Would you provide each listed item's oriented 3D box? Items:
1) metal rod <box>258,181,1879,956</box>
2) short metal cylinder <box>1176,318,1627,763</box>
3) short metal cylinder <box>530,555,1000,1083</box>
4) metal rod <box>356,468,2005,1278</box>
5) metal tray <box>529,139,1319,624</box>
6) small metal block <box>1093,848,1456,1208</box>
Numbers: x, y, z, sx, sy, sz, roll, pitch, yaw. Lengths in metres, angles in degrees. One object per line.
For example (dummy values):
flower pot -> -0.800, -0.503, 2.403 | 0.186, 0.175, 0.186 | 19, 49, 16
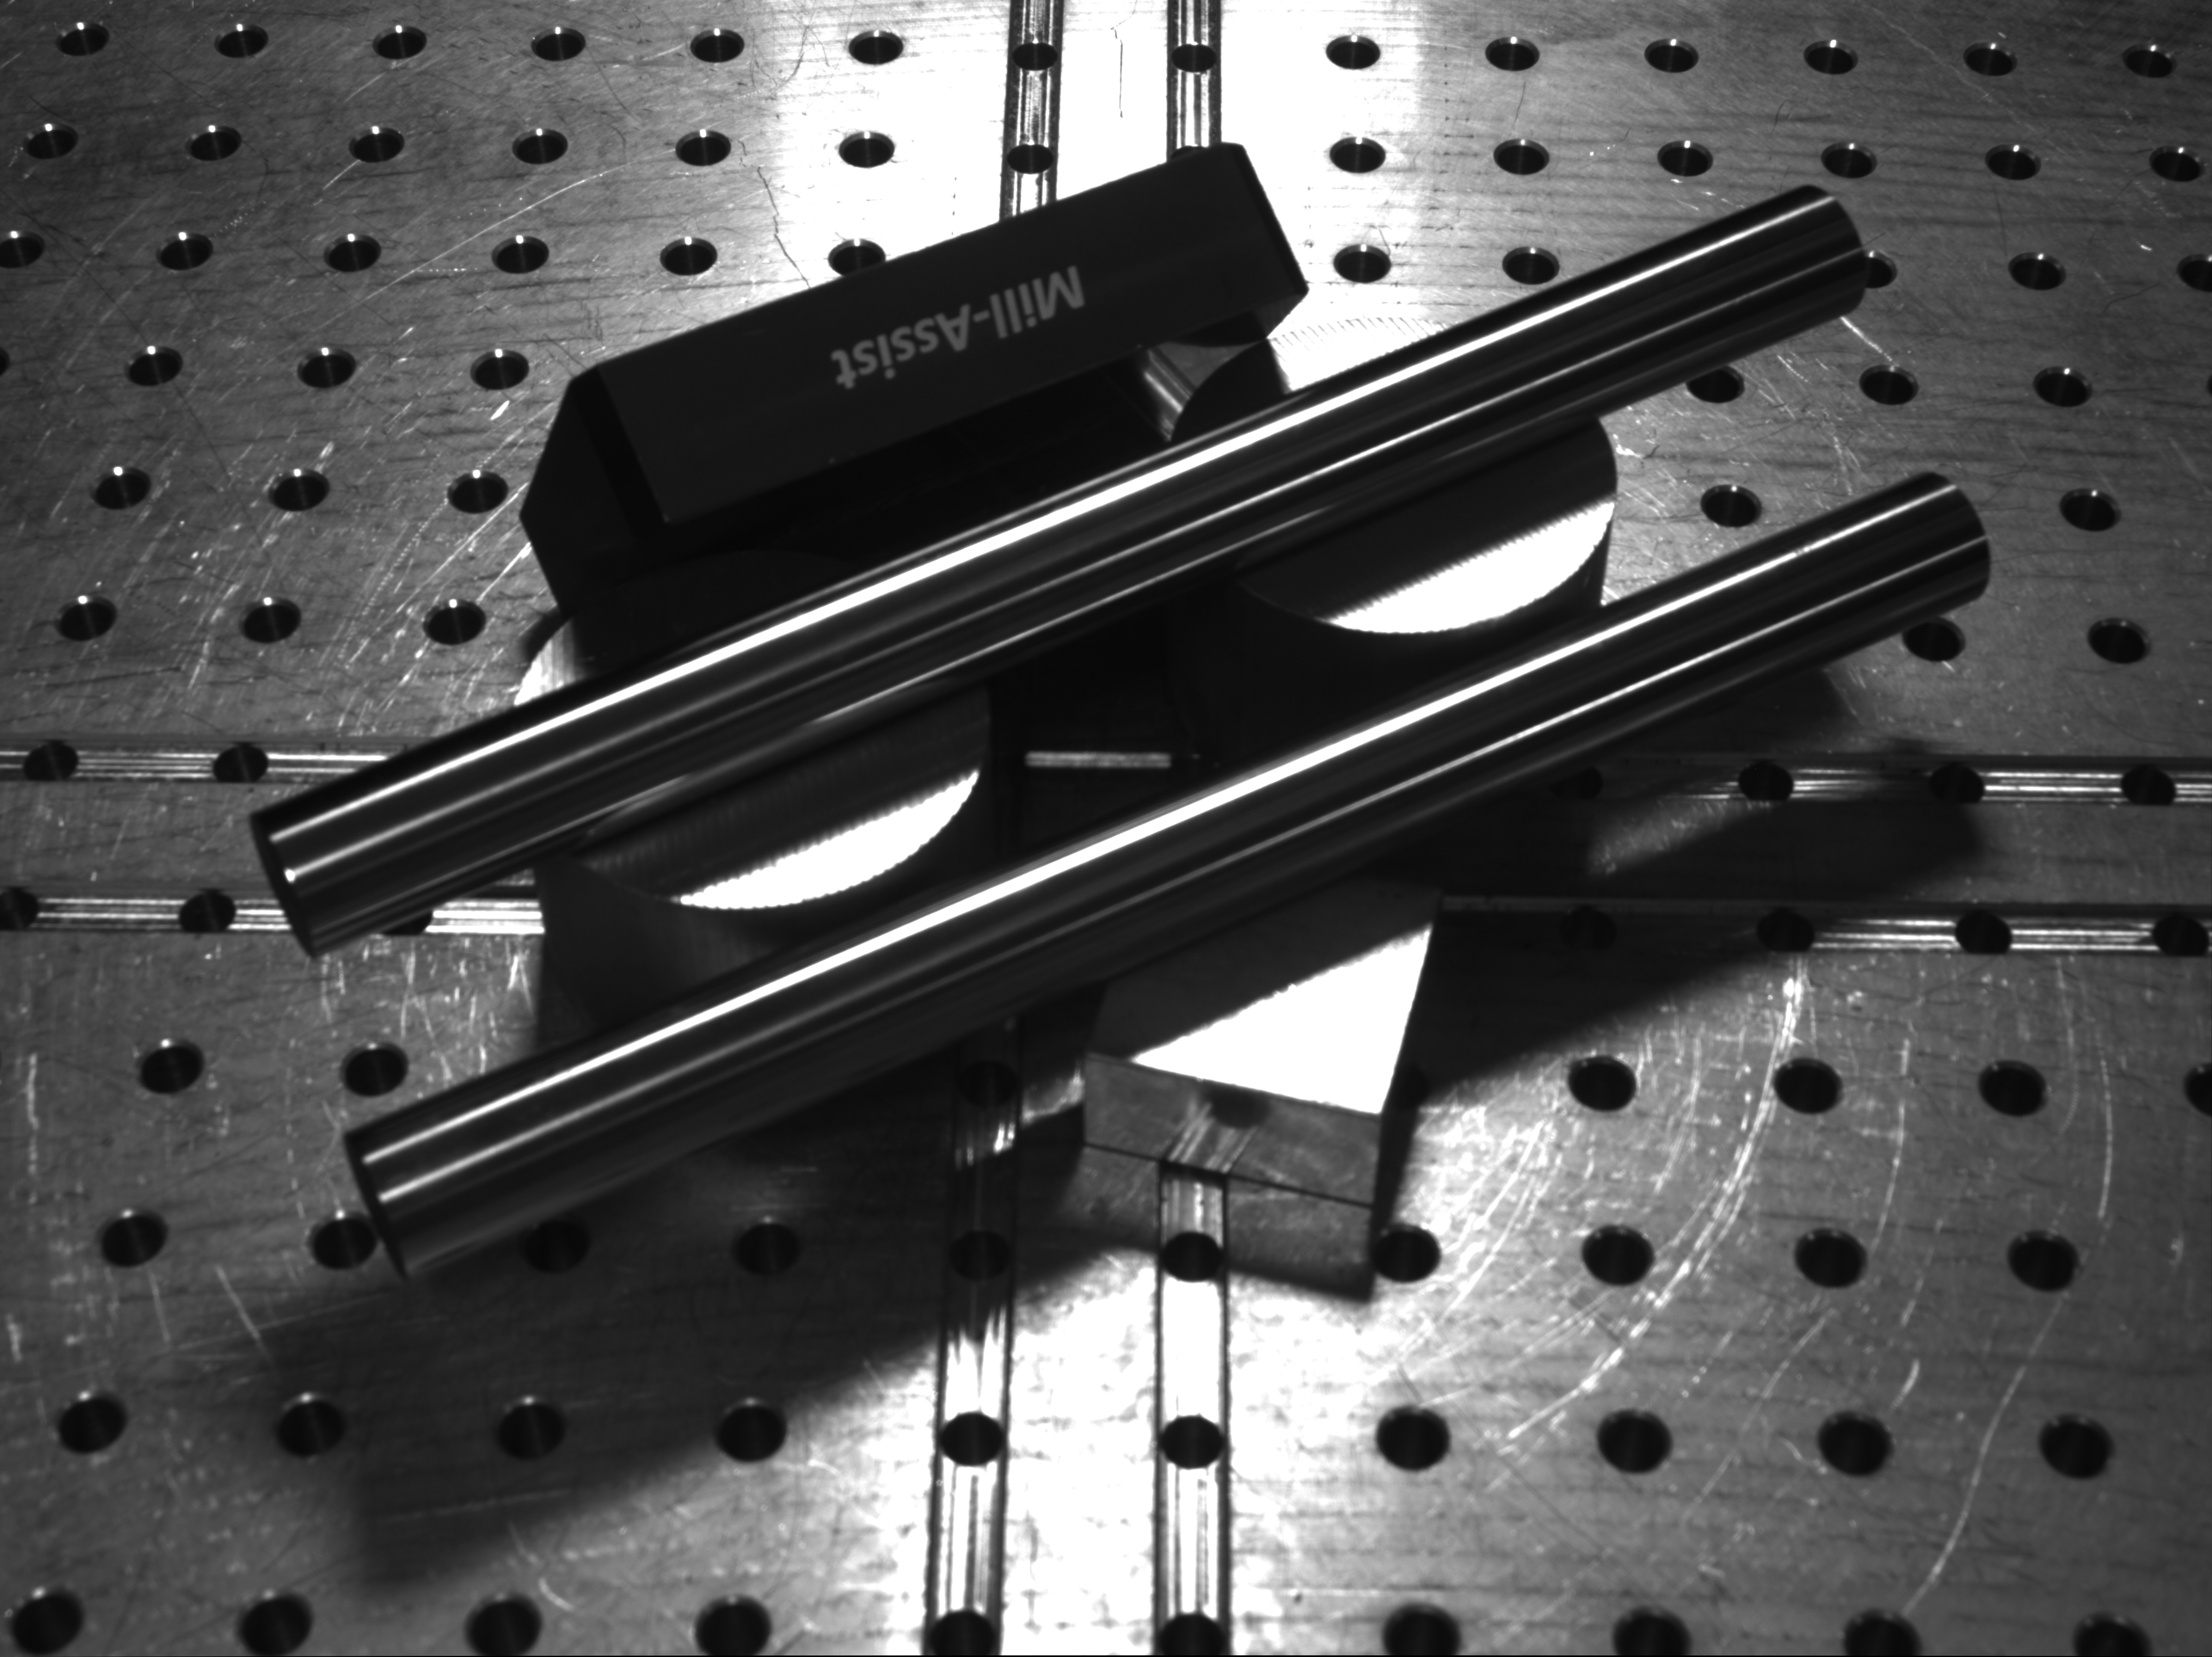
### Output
metal rod -> 0.003, -0.049, 0.620 | 0.300, 0.025, 0.025 | -24, 54, -19
short metal cylinder -> 0.053, -0.048, 0.670 | 0.080, 0.050, 0.080 | 0, 50, 0
short metal cylinder -> -0.058, -0.001, 0.630 | 0.080, 0.050, 0.080 | 0, 50, 0
metal rod -> 0.021, 0.002, 0.609 | 0.300, 0.025, 0.025 | -23, 53, -18
metal tray -> -0.035, -0.077, 0.666 | 0.130, 0.090, 0.030 | -23, 85, -18
small metal block -> 0.029, 0.032, 0.617 | 0.050, 0.025, 0.050 | 12, 51, 10
